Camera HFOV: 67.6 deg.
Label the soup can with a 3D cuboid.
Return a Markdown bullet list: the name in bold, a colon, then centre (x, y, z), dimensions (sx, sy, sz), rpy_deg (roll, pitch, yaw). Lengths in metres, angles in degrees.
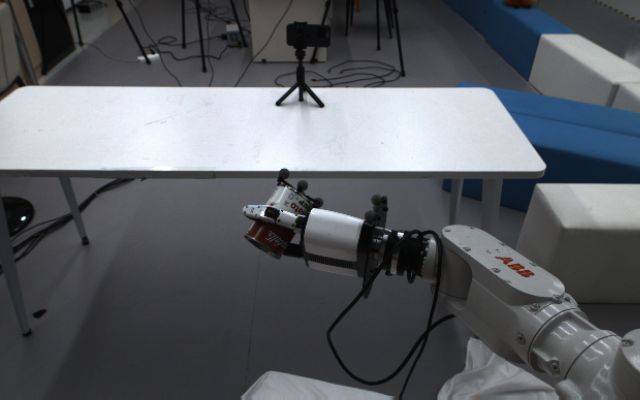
- **soup can**: centre (-0.066, 0.035, 0.770), dimensions (0.067, 0.067, 0.101), rpy_deg (25, 73, 29)
